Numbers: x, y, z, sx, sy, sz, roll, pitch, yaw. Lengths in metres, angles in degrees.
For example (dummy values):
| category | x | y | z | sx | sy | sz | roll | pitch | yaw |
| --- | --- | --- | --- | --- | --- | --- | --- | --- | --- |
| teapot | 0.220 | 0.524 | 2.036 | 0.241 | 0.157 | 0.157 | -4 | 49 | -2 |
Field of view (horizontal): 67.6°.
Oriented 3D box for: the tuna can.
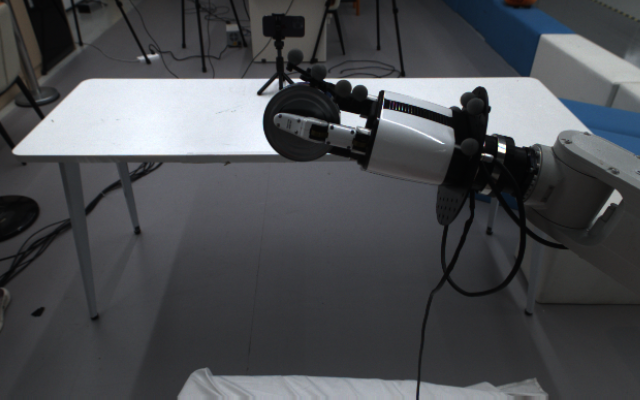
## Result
| category | x | y | z | sx | sy | sz | roll | pitch | yaw |
| --- | --- | --- | --- | --- | --- | --- | --- | --- | --- |
| tuna can | -0.018 | -0.089 | 0.548 | 0.085 | 0.085 | 0.034 | 4 | 20 | 3 |
